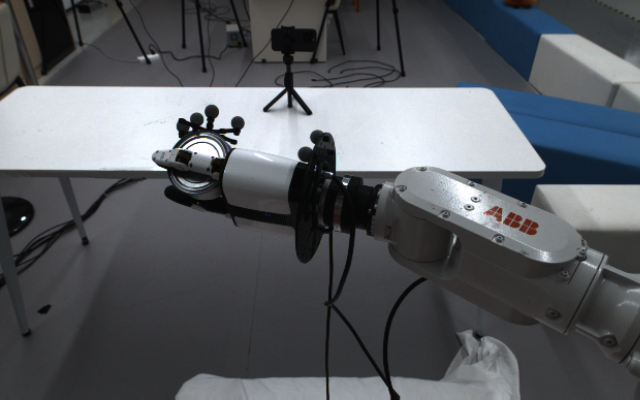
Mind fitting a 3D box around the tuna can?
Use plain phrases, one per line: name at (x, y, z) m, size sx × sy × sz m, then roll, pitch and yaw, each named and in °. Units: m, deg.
tuna can at (-0.150, -0.044, 0.620) m, size 0.085 × 0.034 × 0.085 m, roll -5°, pitch 69°, yaw 14°
